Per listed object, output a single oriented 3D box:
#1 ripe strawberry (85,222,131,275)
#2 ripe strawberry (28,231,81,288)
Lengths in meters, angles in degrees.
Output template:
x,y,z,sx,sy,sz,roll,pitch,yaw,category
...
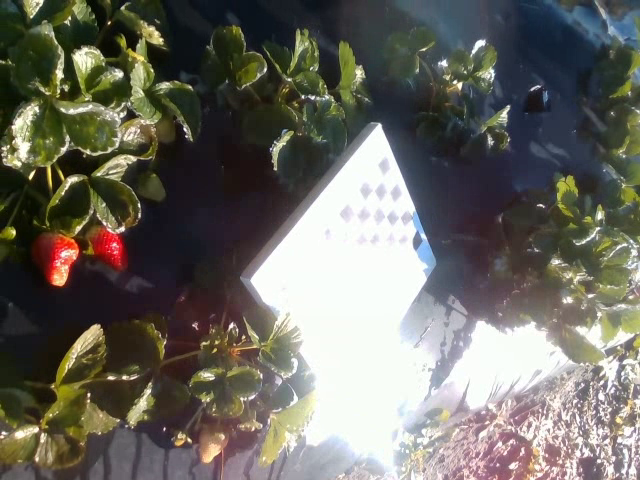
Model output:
x,y,z,sx,sy,sz,roll,pitch,yaw,category
-0.239,0.009,0.695,0.040,0.059,0.043,9,50,47,ripe strawberry
-0.283,0.024,0.668,0.040,0.070,0.053,3,1,37,ripe strawberry
